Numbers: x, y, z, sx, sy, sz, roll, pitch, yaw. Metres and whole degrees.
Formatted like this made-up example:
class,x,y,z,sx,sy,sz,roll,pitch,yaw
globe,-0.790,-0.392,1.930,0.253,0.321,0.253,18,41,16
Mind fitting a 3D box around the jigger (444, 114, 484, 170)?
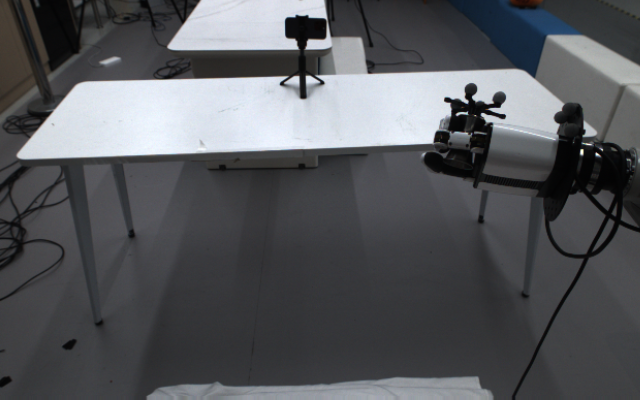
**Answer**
class,x,y,z,sx,sy,sz,roll,pitch,yaw
jigger,0.204,-0.083,0.680,0.043,0.071,0.043,19,-6,2
